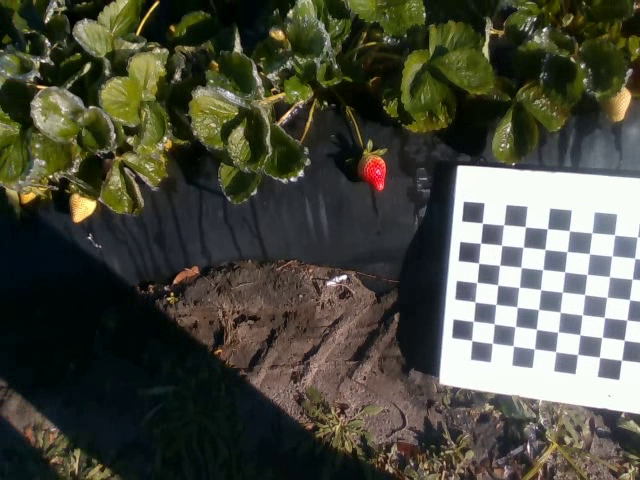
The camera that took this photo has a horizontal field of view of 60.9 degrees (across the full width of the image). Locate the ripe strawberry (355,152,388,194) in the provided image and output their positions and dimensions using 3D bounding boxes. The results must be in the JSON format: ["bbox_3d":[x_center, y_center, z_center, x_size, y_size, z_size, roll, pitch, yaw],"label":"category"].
[{"bbox_3d":[0.067,-0.082,0.652,0.039,0.053,0.040,-17,-15,13],"label":"ripe strawberry"}]
